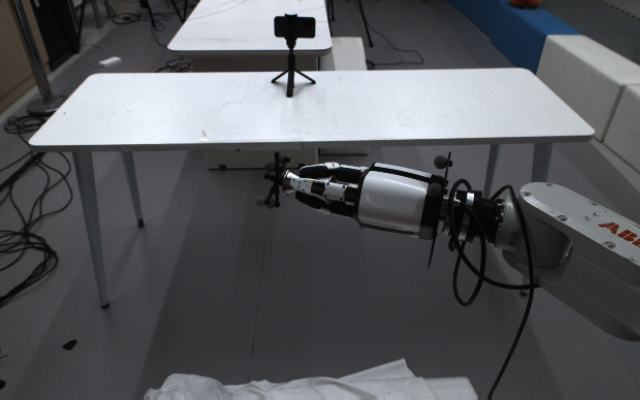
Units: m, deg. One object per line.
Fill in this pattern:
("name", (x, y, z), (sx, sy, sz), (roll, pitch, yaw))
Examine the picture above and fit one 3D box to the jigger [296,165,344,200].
("jigger", (-0.010, -0.024, 0.697), (0.071, 0.043, 0.043), (10, 35, 16))
